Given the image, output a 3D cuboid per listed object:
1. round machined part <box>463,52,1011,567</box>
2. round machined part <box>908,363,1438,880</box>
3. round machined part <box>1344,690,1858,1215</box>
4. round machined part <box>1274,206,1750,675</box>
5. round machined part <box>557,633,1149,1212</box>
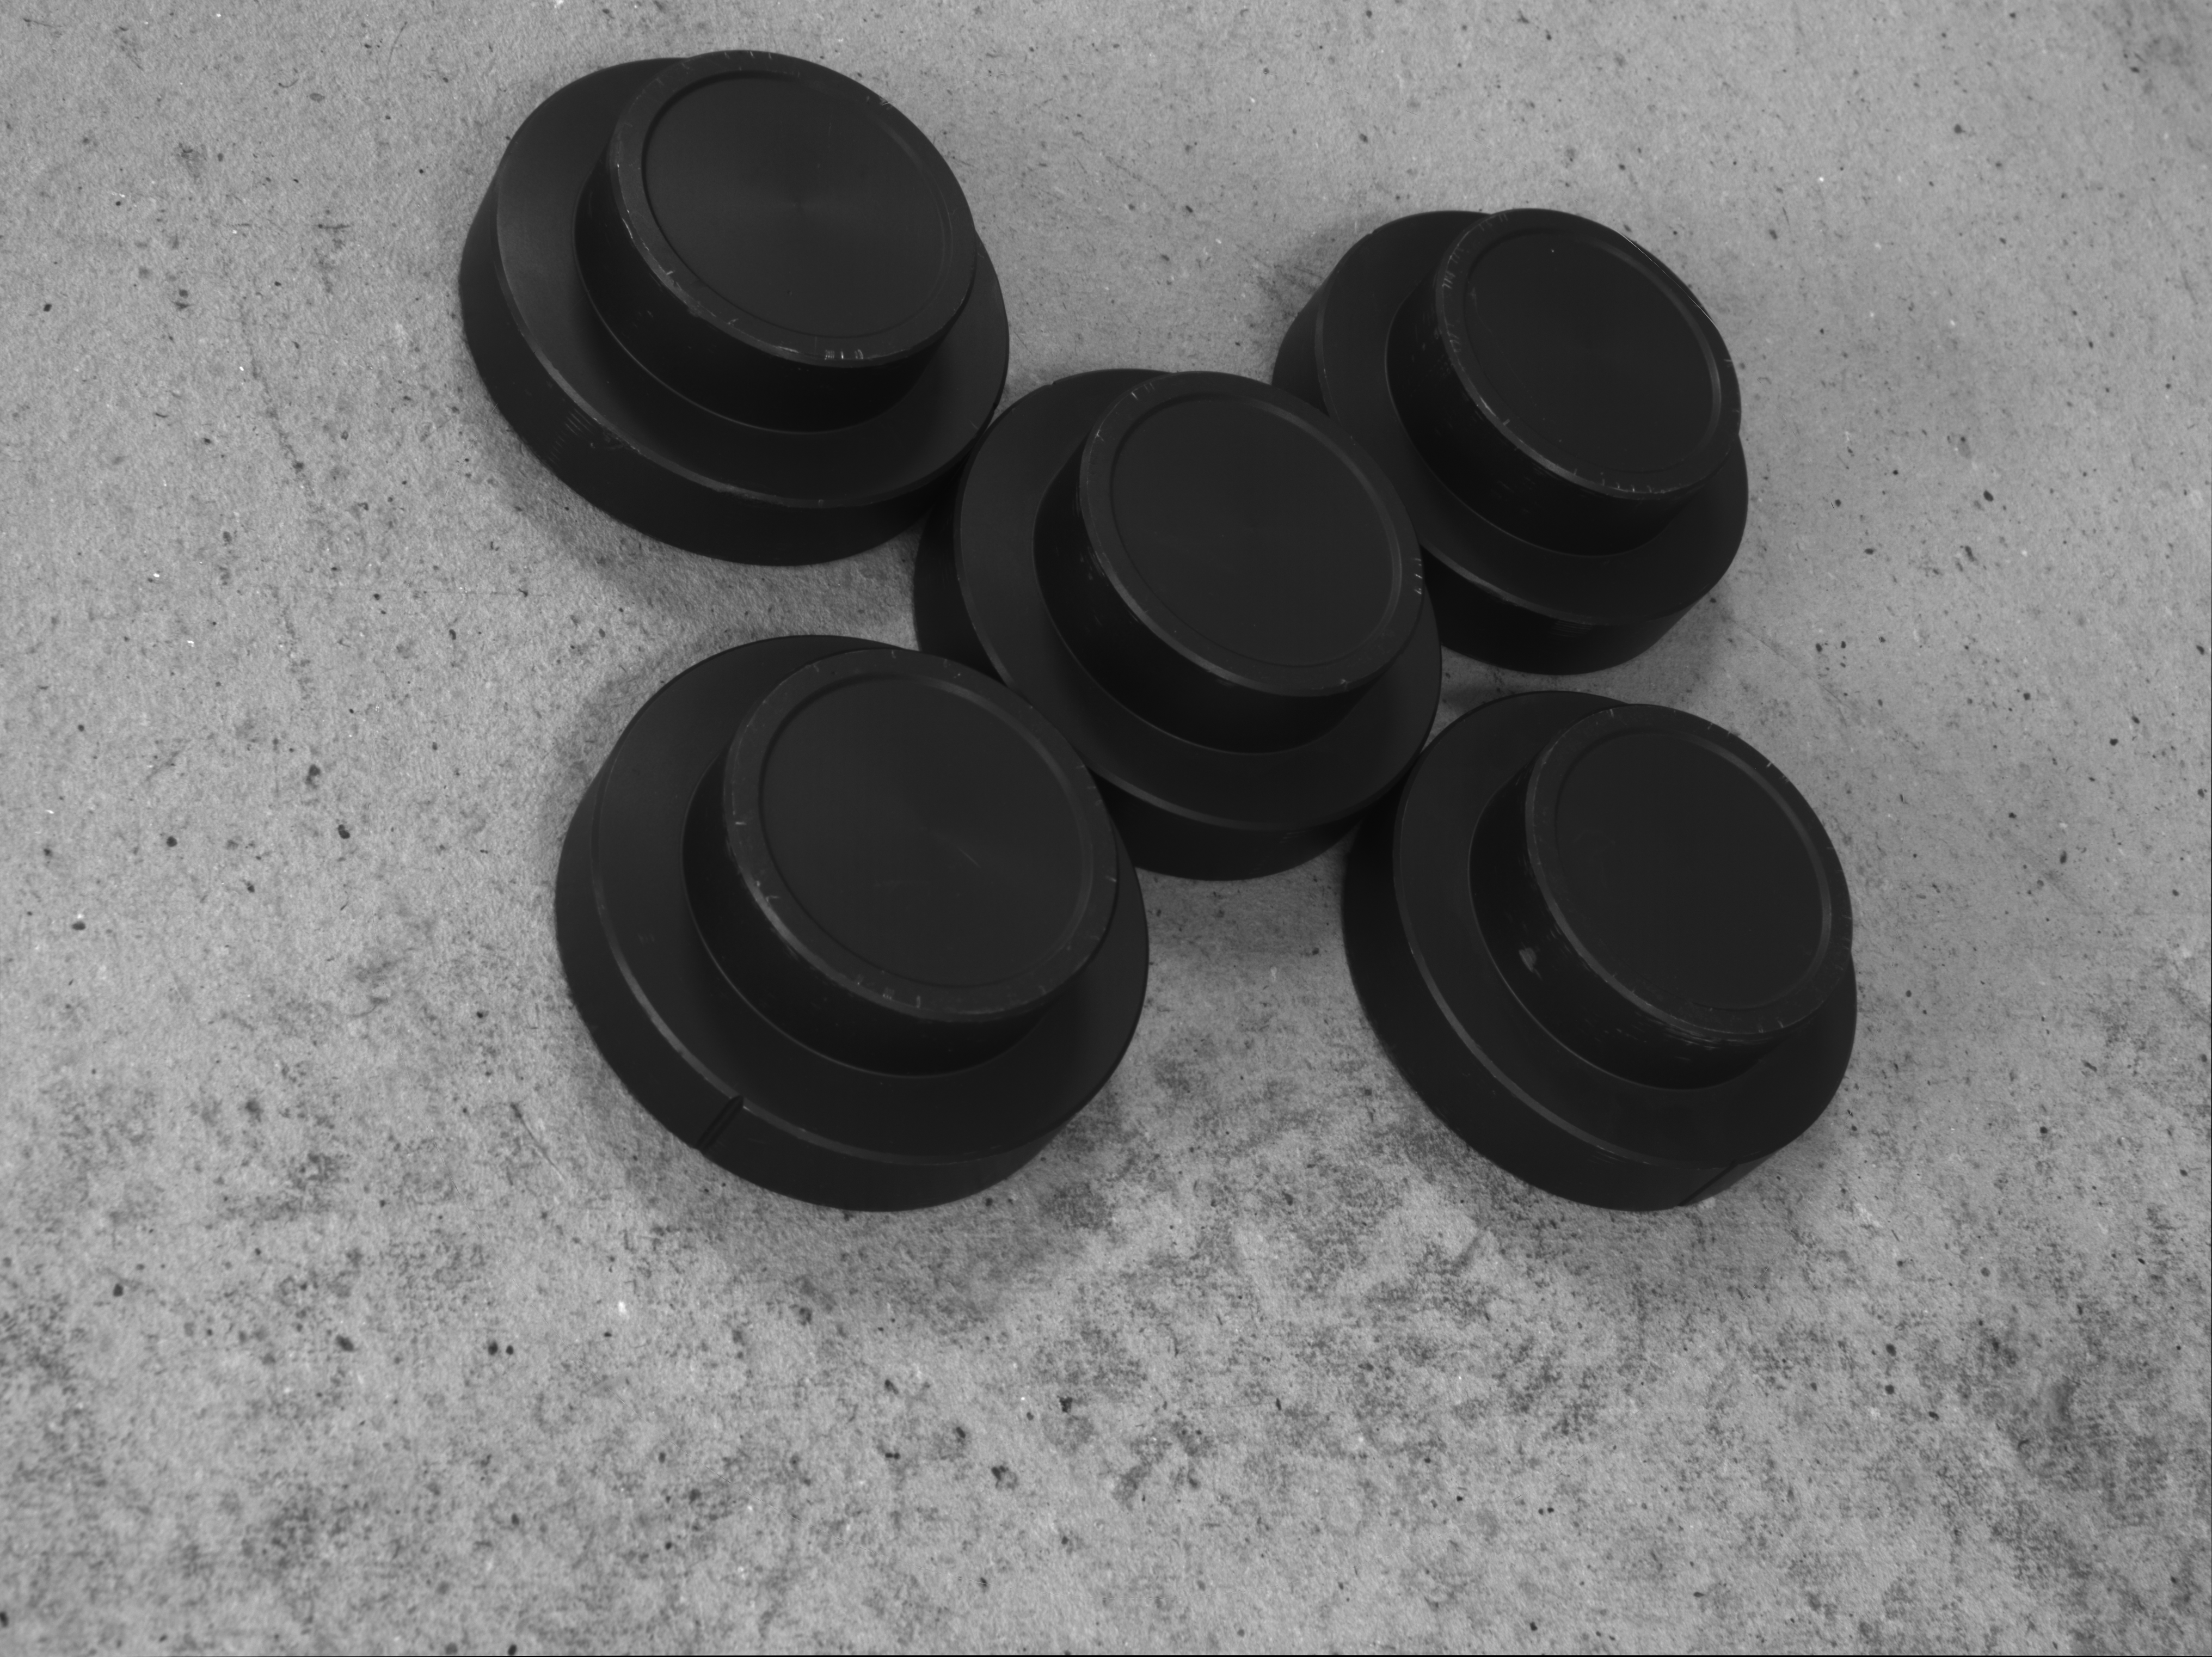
[{"bbox_3d":[-0.062,-0.099,0.655,0.098,0.042,0.098,14,56,-21],"label":"round machined part"},{"bbox_3d":[0.017,-0.043,0.664,0.098,0.042,0.098,13,58,-21],"label":"round machined part"},{"bbox_3d":[0.096,0.017,0.669,0.098,0.042,0.098,13,58,-21],"label":"round machined part"},{"bbox_3d":[0.086,-0.083,0.724,0.098,0.042,0.098,13,58,-21],"label":"round machined part"},{"bbox_3d":[-0.037,0.010,0.602,0.098,0.042,0.098,14,57,-21],"label":"round machined part"}]
